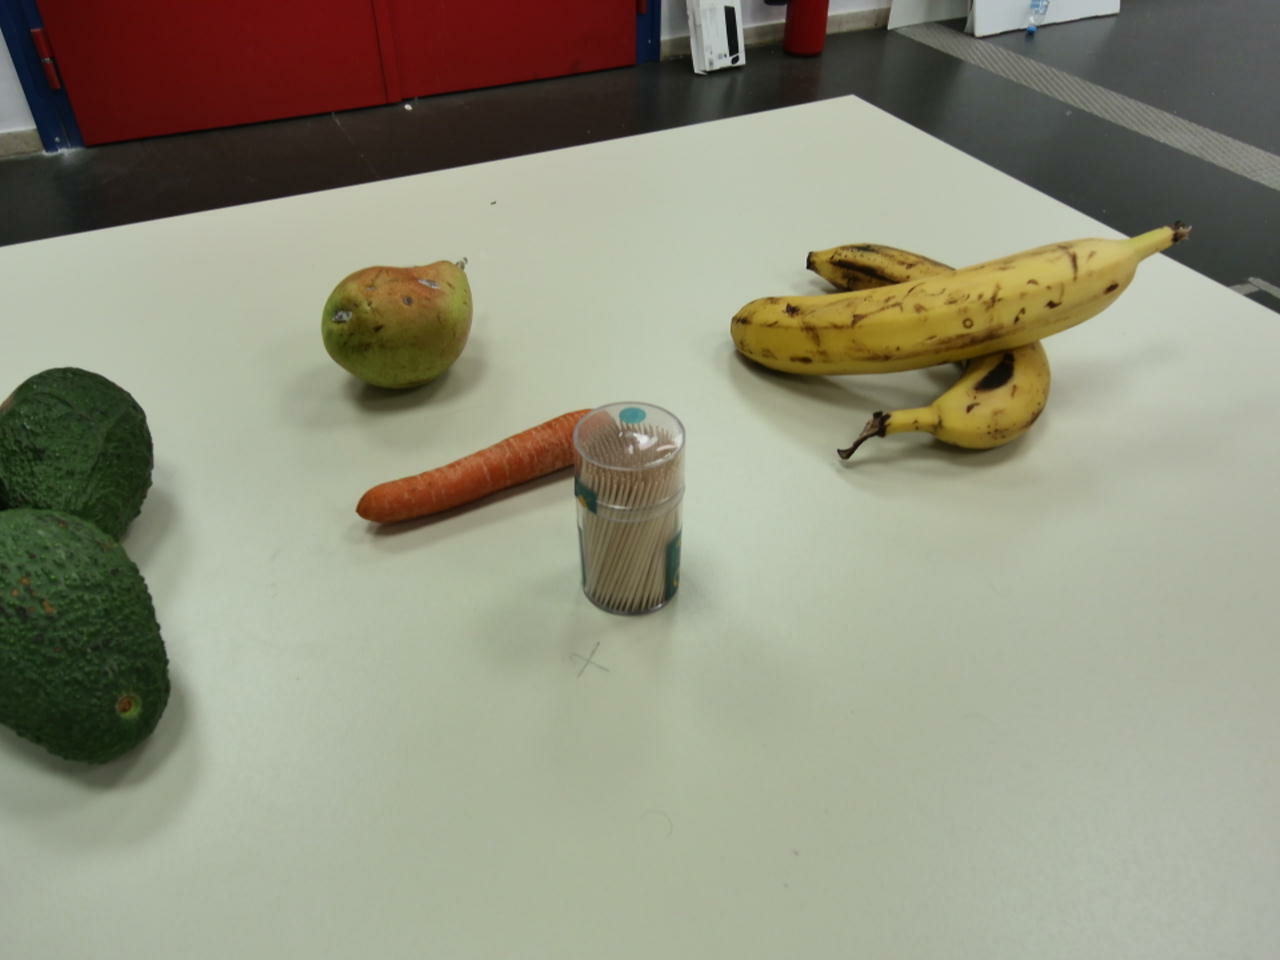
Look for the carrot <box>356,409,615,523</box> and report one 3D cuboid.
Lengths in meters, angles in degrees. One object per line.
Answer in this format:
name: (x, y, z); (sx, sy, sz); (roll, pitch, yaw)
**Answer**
carrot: (-0.065, -0.007, 0.441); (0.122, 0.023, 0.024); (-19, 42, -23)
